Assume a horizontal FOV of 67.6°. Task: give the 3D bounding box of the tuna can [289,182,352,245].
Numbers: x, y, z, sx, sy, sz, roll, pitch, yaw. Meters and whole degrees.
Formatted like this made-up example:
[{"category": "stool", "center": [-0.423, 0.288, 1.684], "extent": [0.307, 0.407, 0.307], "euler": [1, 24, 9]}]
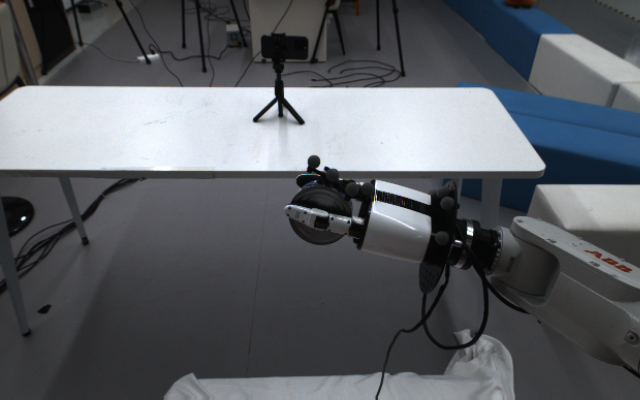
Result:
[{"category": "tuna can", "center": [0.004, 0.015, 0.663], "extent": [0.085, 0.085, 0.034], "euler": [7, 17, 6]}]
